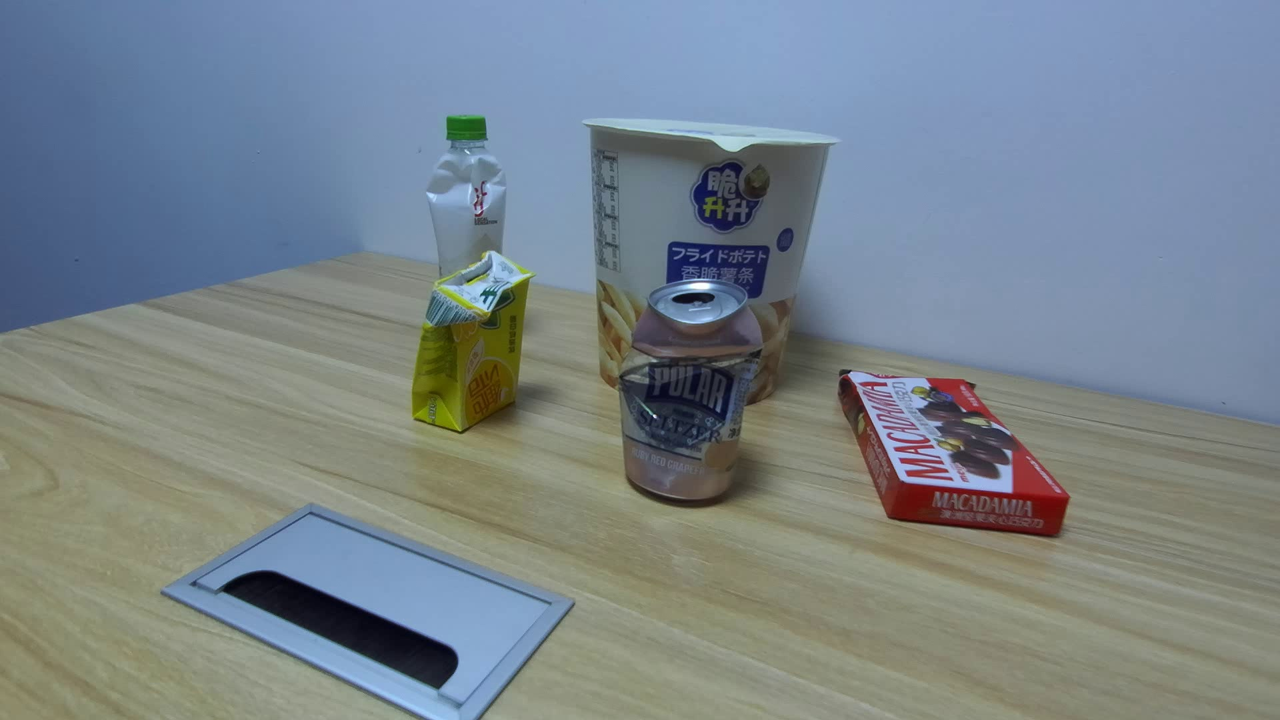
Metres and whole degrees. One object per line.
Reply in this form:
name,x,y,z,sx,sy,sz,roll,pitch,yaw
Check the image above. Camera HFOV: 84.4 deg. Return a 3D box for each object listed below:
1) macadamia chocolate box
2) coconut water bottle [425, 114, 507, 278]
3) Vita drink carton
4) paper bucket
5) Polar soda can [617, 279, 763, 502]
macadamia chocolate box,0.200,0.052,0.477,0.106,0.028,0.183,5,20,4
coconut water bottle,-0.142,-0.102,0.589,0.069,0.186,0.069,4,13,-1
Vita drink carton,-0.109,-0.010,0.471,0.042,0.108,0.087,27,31,17
paper bucket,0.046,-0.079,0.550,0.198,0.194,0.198,3,21,-1
Polar soda can,0.025,0.020,0.396,0.071,0.122,0.066,-4,28,-18
